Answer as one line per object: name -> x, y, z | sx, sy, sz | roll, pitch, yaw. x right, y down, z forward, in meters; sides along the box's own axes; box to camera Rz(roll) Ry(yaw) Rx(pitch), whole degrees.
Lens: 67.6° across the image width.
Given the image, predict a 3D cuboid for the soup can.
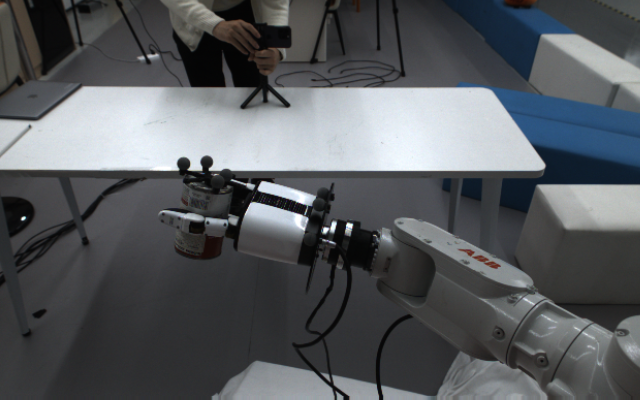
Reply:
soup can -> -0.160, 0.024, 0.667 | 0.067, 0.101, 0.067 | 13, 18, -4
